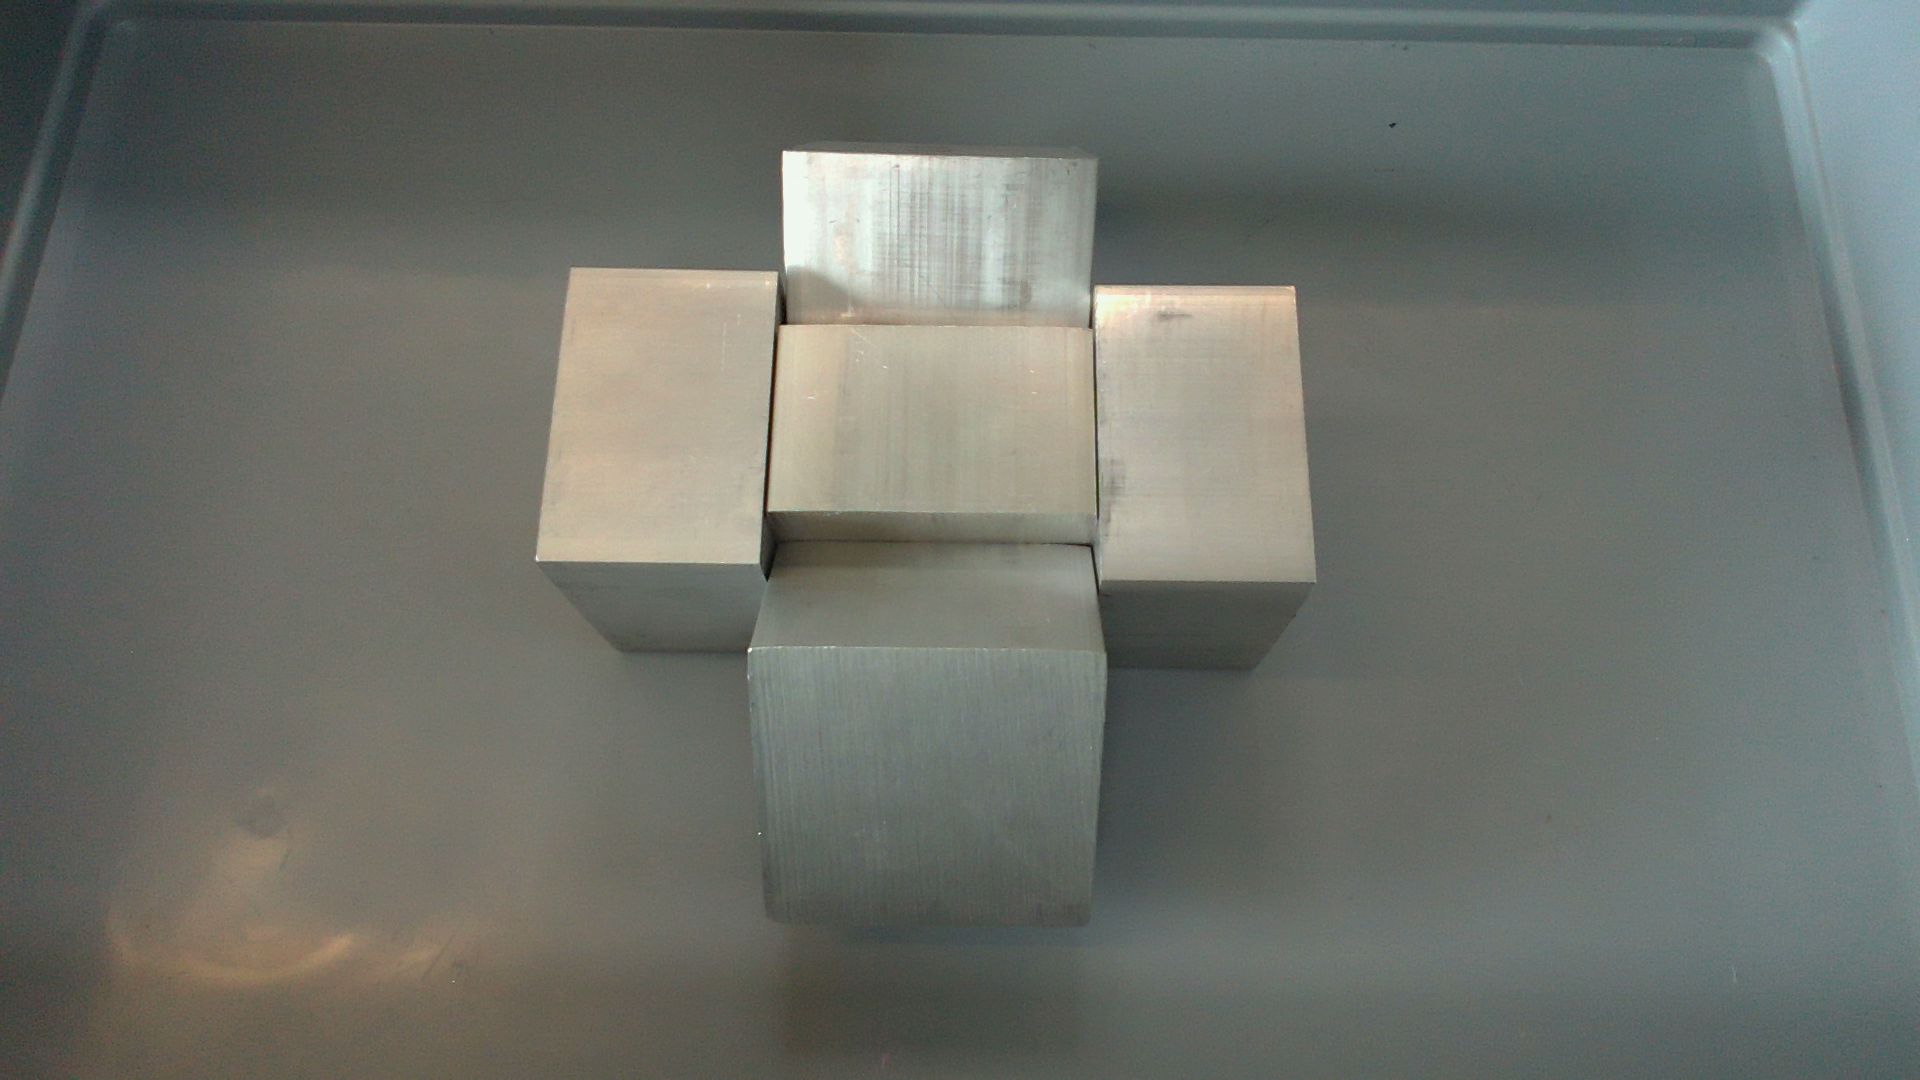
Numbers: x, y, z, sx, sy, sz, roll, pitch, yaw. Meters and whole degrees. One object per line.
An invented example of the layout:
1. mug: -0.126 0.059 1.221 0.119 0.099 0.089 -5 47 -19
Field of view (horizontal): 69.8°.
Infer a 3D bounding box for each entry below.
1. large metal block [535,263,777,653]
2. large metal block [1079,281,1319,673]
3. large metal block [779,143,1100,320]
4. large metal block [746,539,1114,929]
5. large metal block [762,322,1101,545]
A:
1. large metal block: -0.073 -0.018 0.371 0.050 0.080 0.080 1 70 0
2. large metal block: 0.059 -0.014 0.370 0.050 0.080 0.080 1 70 0
3. large metal block: -0.005 -0.085 0.389 0.080 0.080 0.050 2 108 1
4. large metal block: -0.007 0.048 0.340 0.080 0.080 0.050 1 28 -1
5. large metal block: -0.006 -0.017 0.371 0.080 0.080 0.050 1 70 0
